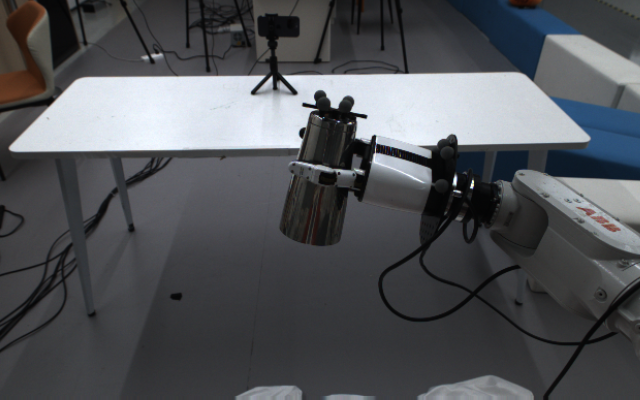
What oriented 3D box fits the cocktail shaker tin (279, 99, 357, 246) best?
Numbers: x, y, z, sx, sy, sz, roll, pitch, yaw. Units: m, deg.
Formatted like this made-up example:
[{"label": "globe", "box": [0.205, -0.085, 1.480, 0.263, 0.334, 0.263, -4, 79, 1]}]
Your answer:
[{"label": "cocktail shaker tin", "box": [0.003, -0.033, 0.676, 0.093, 0.170, 0.093, 11, 19, -4]}]
